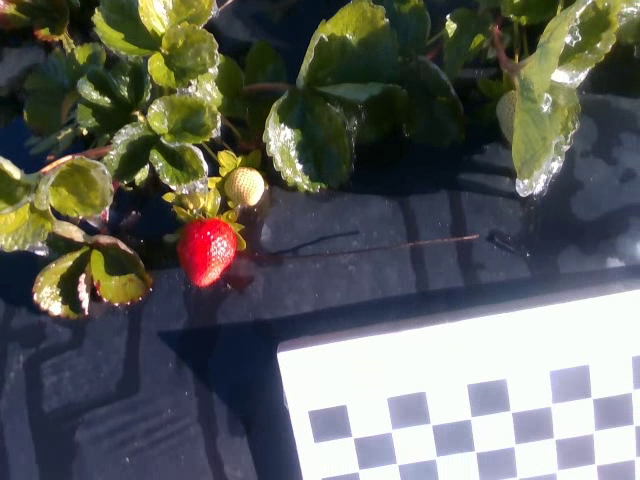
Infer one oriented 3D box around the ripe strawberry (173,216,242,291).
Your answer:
[{"bbox_3d":[-0.054,0.011,0.282,0.039,0.040,0.039,-17,39,15],"label":"ripe strawberry"}]
